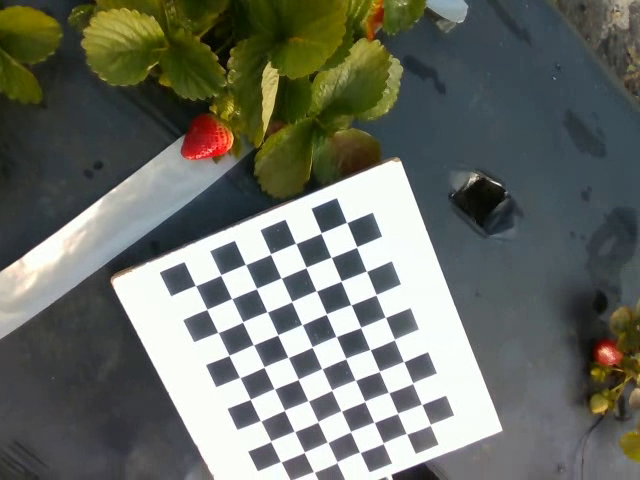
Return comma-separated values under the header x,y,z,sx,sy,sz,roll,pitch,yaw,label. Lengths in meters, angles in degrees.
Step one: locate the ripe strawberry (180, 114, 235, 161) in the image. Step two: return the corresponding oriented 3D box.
x,y,z,sx,sy,sz,roll,pitch,yaw,label
-0.091,-0.078,0.451,0.055,0.050,0.035,-33,19,-12,ripe strawberry
